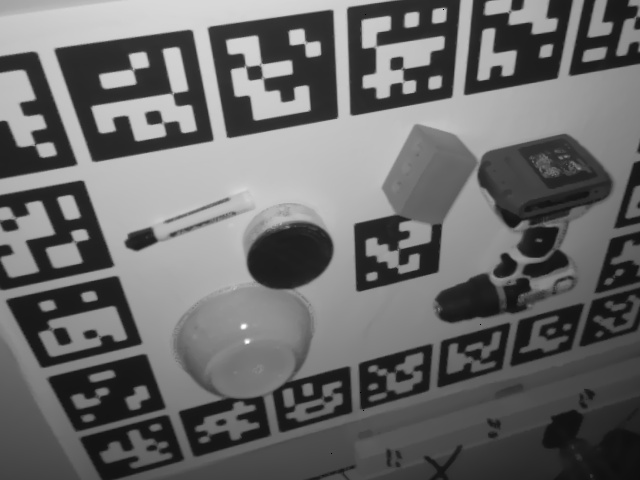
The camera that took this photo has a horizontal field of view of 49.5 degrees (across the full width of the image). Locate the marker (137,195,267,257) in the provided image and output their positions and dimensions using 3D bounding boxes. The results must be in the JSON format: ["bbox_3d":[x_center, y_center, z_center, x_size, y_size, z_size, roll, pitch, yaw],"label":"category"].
[{"bbox_3d":[-0.109,-0.012,0.637,0.121,0.019,0.019,-21,128,-3],"label":"marker"}]

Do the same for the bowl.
[{"bbox_3d":[-0.056,0.125,0.748,0.163,0.055,0.160,-14,135,-13],"label":"bowl"}]

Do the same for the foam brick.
[{"bbox_3d":[0.115,-0.066,0.664,0.052,0.053,0.077,8,121,-22],"label":"foam brick"}]

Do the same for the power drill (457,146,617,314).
[{"bbox_3d":[0.238,-0.002,0.748,0.185,0.057,0.185,-12,131,-6],"label":"power drill"}]

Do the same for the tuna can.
[{"bbox_3d":[-0.020,0.013,0.678,0.086,0.034,0.085,-8,128,-10],"label":"tuna can"}]
